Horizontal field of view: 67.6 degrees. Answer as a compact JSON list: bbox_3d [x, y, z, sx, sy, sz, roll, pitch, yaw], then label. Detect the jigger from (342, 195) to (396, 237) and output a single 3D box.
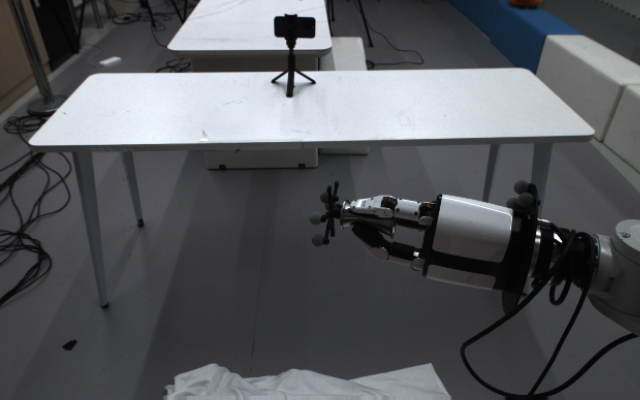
[{"bbox_3d":[0.070,0.018,0.627,0.071,0.043,0.043,8,35,14],"label":"jigger"}]
